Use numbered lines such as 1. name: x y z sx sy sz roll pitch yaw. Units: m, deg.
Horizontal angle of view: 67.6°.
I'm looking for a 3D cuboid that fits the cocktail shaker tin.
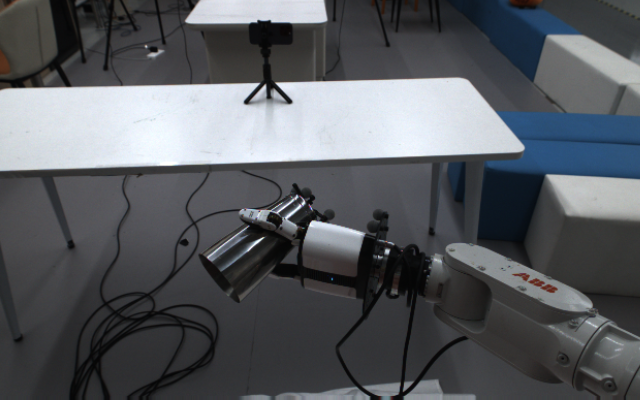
1. cocktail shaker tin: -0.086 0.059 0.731 0.170 0.093 0.093 -38 49 -24
